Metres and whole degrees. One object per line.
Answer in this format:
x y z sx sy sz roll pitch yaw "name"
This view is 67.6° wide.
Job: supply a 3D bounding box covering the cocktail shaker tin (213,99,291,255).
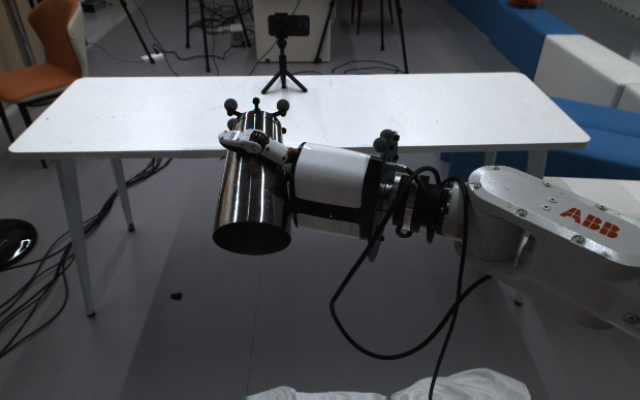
-0.083 -0.027 0.606 0.093 0.093 0.170 0 59 -3 "cocktail shaker tin"
